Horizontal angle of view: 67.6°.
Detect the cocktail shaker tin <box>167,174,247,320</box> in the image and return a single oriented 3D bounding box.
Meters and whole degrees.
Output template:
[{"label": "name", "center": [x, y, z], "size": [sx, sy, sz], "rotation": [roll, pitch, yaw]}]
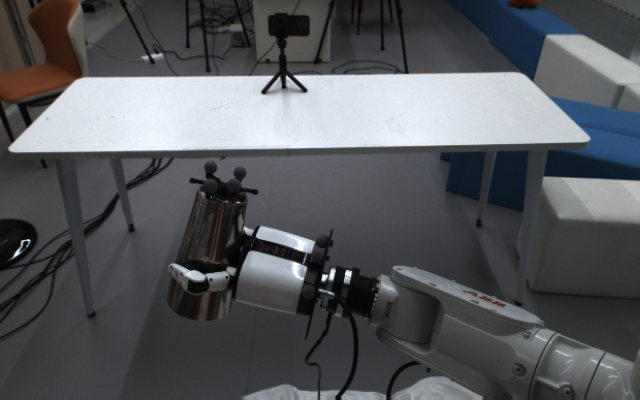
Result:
[{"label": "cocktail shaker tin", "center": [-0.148, 0.067, 0.658], "size": [0.093, 0.170, 0.093], "rotation": [15, 20, -5]}]
